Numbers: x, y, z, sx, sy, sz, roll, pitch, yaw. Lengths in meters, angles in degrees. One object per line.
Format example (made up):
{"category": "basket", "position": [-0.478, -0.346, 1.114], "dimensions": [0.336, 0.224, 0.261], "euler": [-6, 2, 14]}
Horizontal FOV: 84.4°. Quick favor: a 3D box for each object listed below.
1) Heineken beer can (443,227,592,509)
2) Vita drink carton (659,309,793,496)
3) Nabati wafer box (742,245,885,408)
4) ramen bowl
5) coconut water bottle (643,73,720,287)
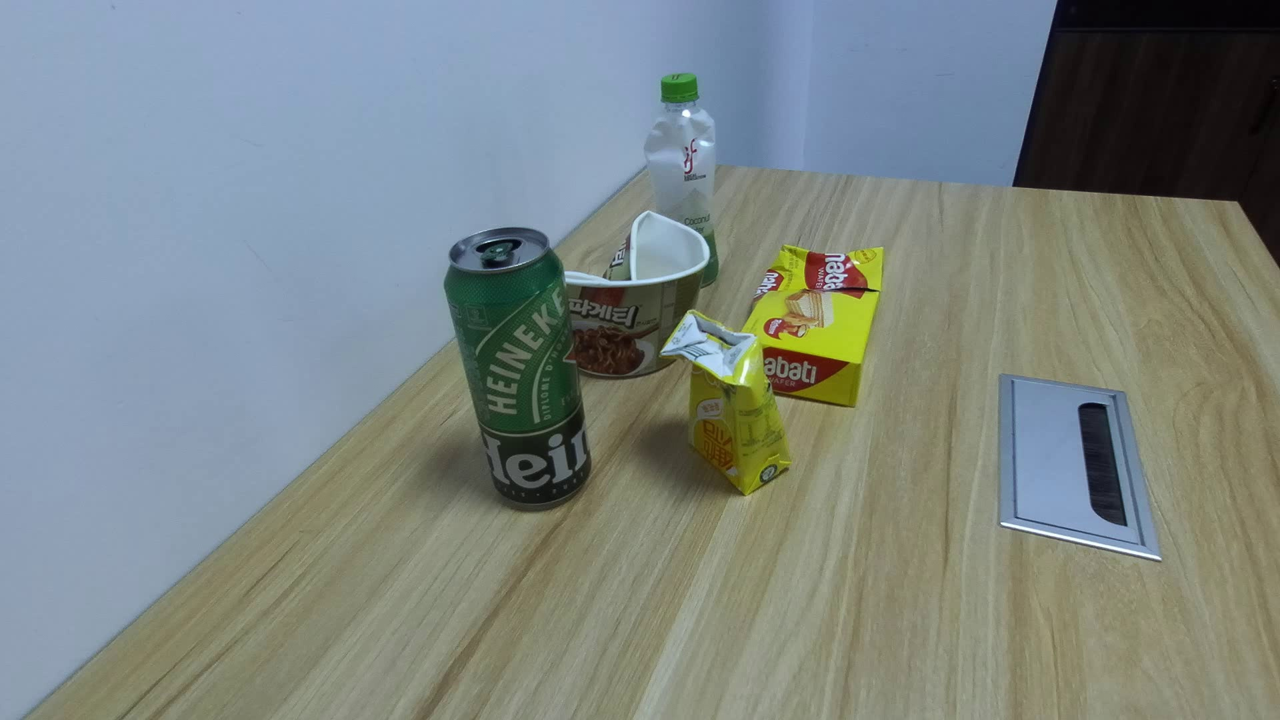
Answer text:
{"category": "Heineken beer can", "position": [-0.070, 0.010, 0.430], "dimensions": [0.067, 0.169, 0.067], "euler": [-3, 33, 2]}
{"category": "Vita drink carton", "position": [0.054, 0.027, 0.445], "dimensions": [0.042, 0.108, 0.086], "euler": [-32, 37, -14]}
{"category": "Nabati wafer box", "position": [0.145, -0.044, 0.594], "dimensions": [0.106, 0.042, 0.204], "euler": [10, 36, 18]}
{"category": "ramen bowl", "position": [-0.013, -0.050, 0.571], "dimensions": [0.137, 0.098, 0.137], "euler": [-4, 37, 3]}
{"category": "coconut water bottle", "position": [0.040, -0.160, 0.642], "dimensions": [0.069, 0.186, 0.069], "euler": [-2, 35, 2]}
